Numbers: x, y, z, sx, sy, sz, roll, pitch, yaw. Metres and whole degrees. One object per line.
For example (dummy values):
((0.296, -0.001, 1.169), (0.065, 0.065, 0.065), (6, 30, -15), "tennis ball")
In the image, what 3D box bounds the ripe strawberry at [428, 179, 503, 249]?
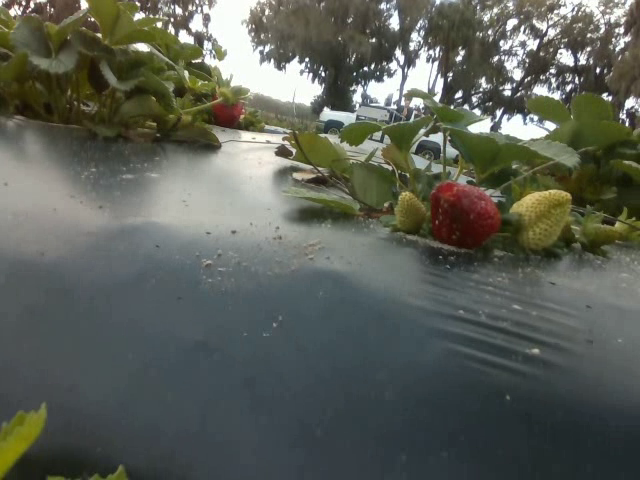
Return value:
((0.079, -0.016, 0.346), (0.046, 0.046, 0.059), (9, -17, 25), "ripe strawberry")
